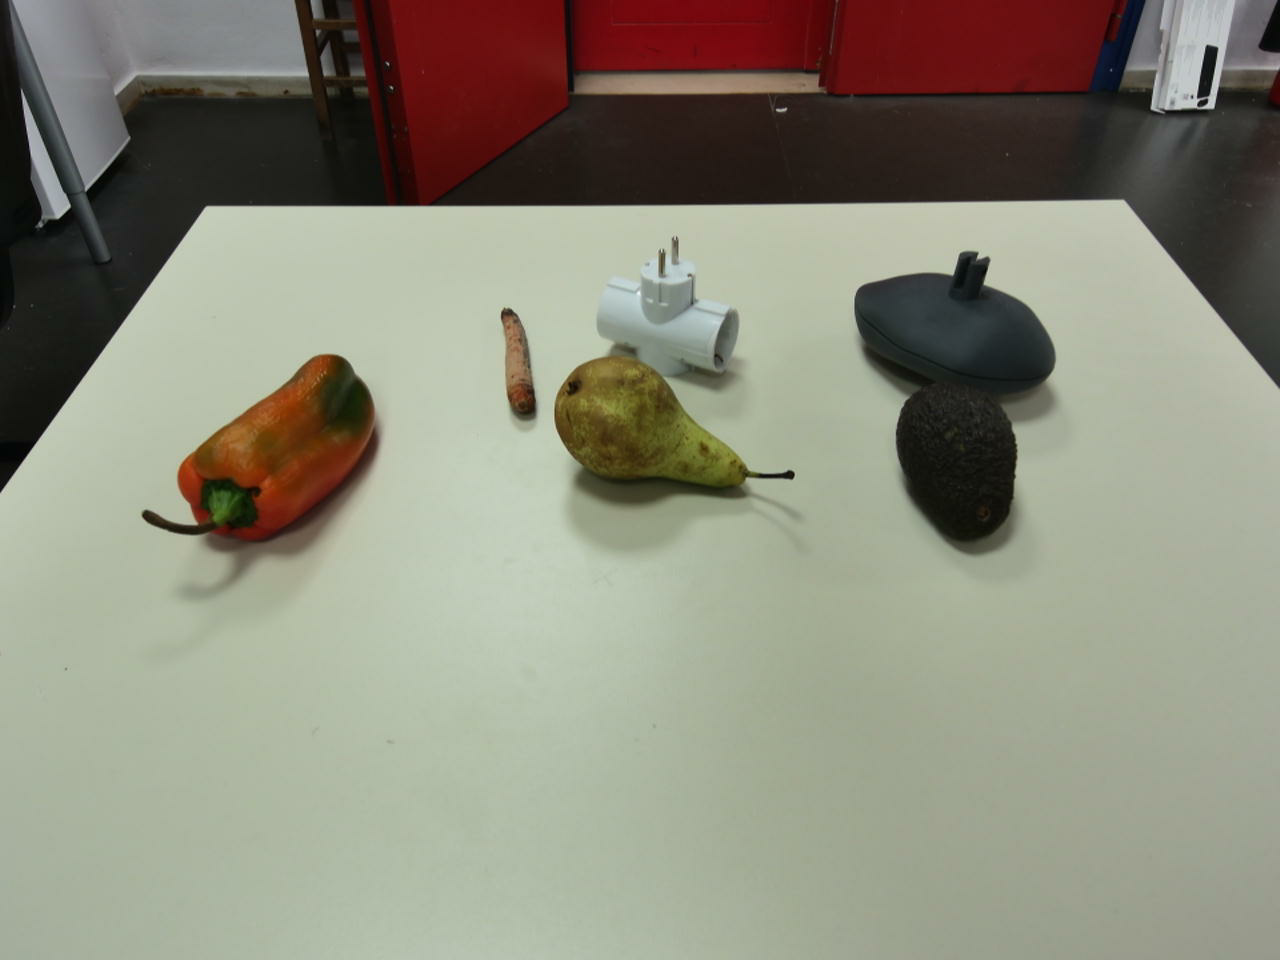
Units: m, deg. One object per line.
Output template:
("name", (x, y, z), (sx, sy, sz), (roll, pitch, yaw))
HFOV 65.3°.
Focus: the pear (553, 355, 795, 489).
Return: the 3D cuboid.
("pear", (0.021, -0.034, 0.592), (0.144, 0.075, 0.071), (4, 40, 6))
